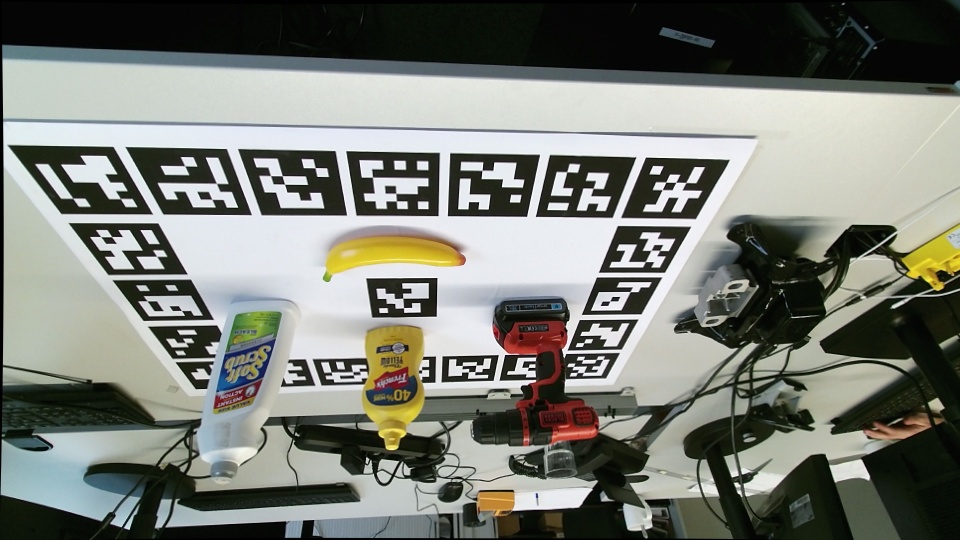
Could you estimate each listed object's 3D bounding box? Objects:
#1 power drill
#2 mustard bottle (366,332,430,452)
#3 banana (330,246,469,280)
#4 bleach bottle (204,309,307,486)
[{"bbox_3d":[0.067,0.179,0.798,0.185,0.186,0.057,-7,139,-4],"label":"power drill"},{"bbox_3d":[-0.128,0.188,0.835,0.096,0.190,0.058,-5,139,2],"label":"mustard bottle"},{"bbox_3d":[-0.114,-0.001,0.716,0.198,0.038,0.074,-6,138,-4],"label":"banana"},{"bbox_3d":[-0.312,0.172,0.746,0.103,0.249,0.068,5,138,-12],"label":"bleach bottle"}]
